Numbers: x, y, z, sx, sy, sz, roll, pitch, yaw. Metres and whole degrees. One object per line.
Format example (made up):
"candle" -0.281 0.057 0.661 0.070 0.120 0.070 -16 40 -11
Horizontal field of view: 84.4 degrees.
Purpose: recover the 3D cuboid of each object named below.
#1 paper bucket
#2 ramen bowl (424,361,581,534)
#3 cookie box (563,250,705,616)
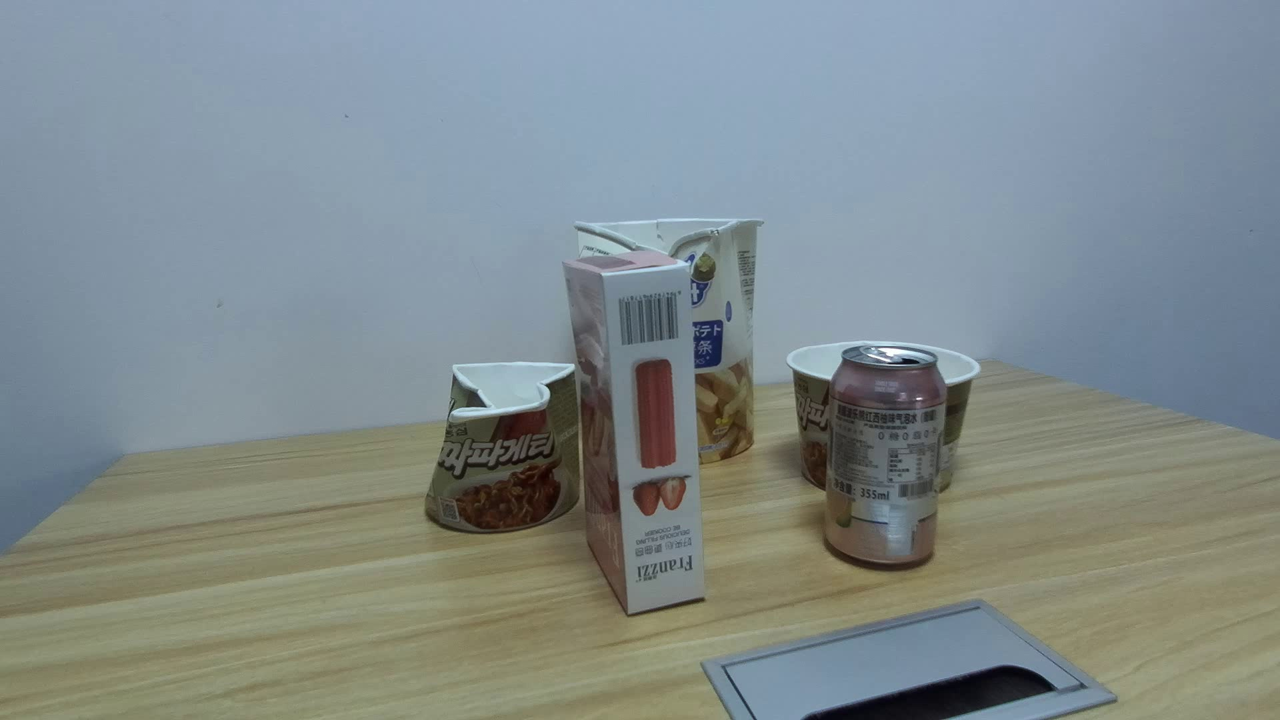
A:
"paper bucket" 0.018 -0.023 0.630 0.162 0.202 0.169 2 11 21
"ramen bowl" -0.103 0.062 0.511 0.111 0.093 0.128 0 14 5
"cookie box" -0.005 0.034 0.405 0.049 0.187 0.105 -7 14 -16
